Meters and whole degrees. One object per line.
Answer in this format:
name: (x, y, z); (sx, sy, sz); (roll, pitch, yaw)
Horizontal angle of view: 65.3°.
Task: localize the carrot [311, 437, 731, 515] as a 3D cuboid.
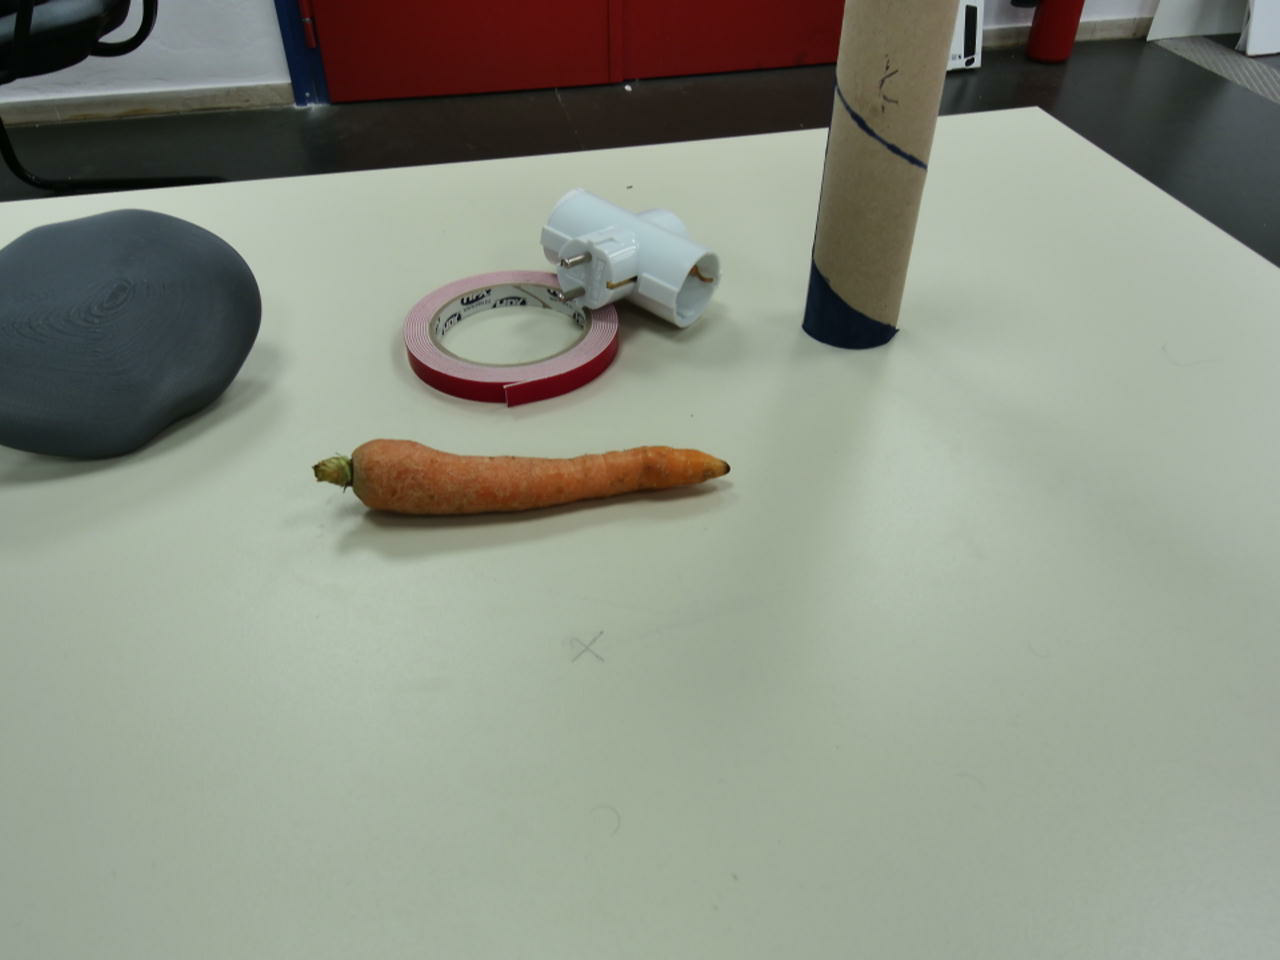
carrot: (-0.046, -0.004, 0.417); (0.173, 0.032, 0.030); (-3, 38, -4)
